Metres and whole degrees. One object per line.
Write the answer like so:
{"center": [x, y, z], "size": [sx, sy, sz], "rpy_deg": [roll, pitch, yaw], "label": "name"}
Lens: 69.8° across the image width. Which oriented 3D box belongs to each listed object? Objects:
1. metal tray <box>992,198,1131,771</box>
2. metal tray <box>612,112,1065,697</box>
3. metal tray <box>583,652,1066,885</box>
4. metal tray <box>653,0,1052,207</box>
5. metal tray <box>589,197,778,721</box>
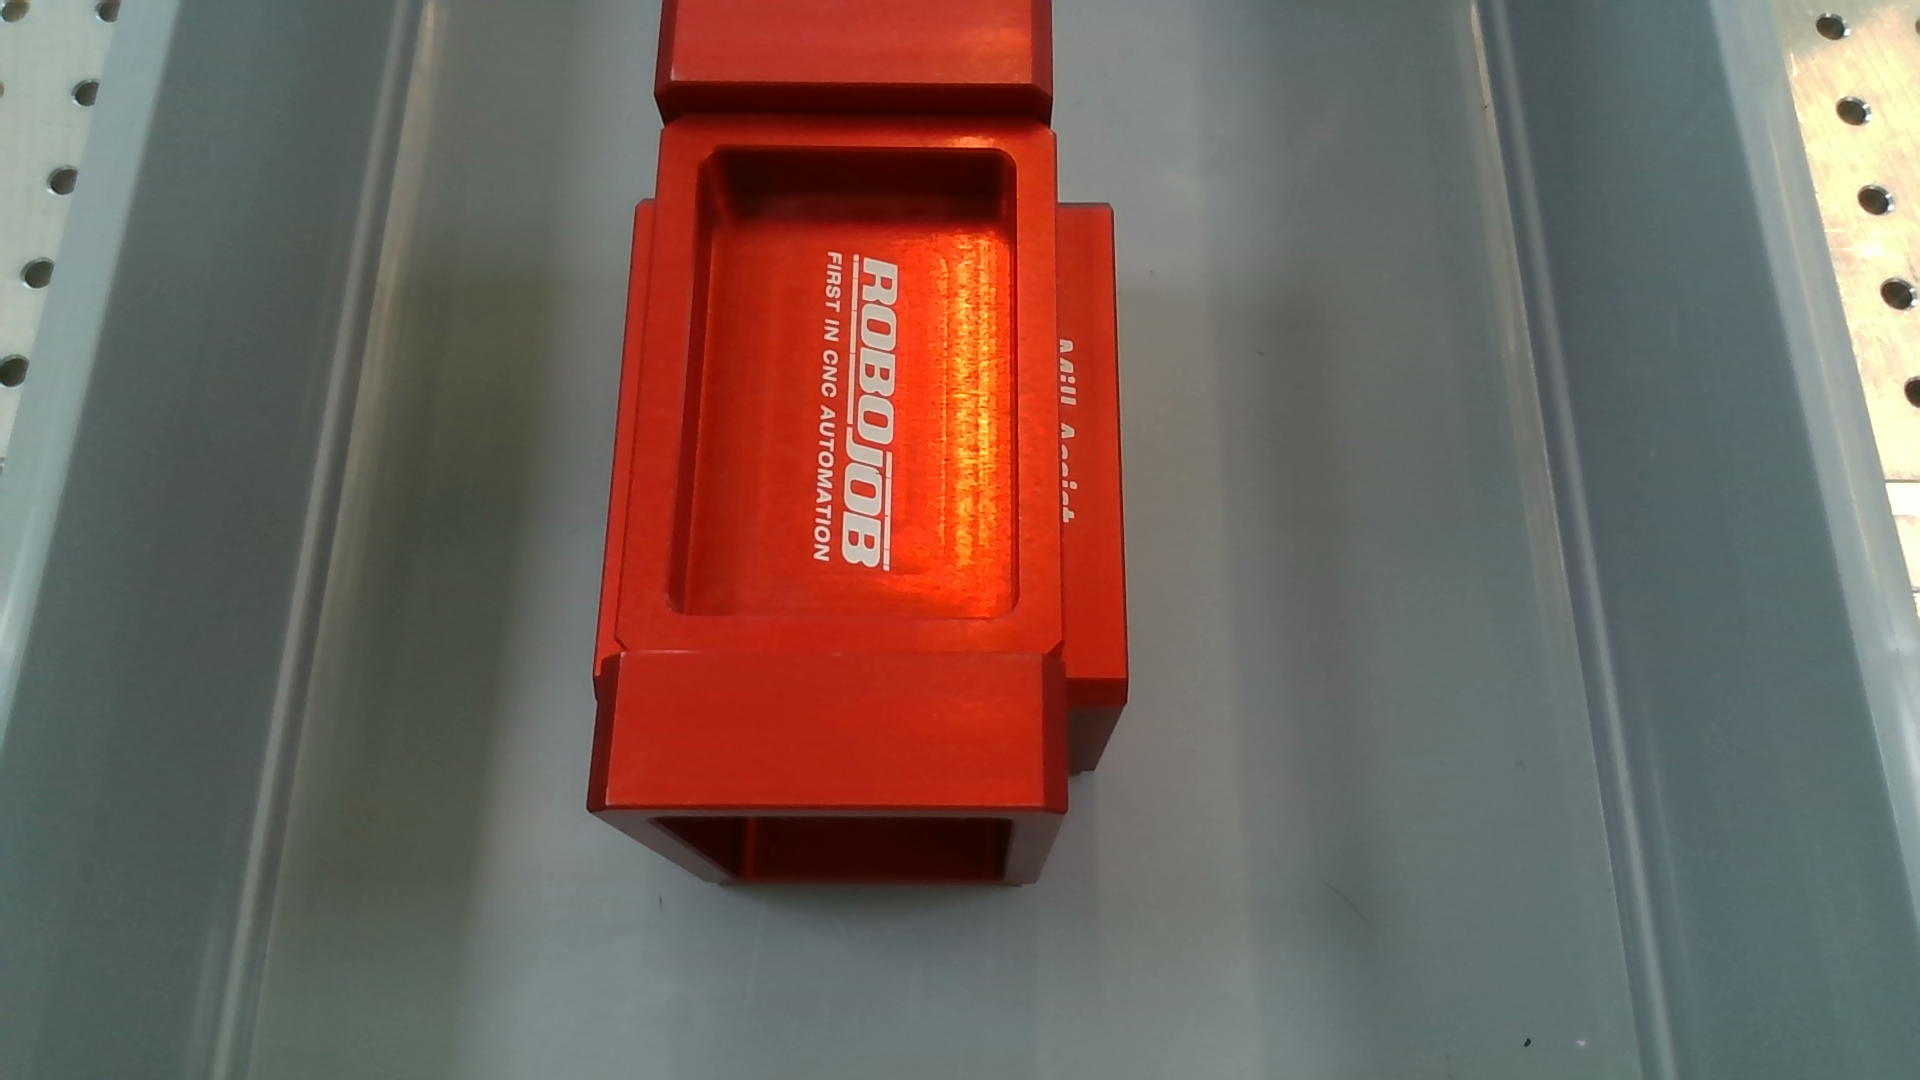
{"center": [0.023, -0.011, 0.363], "size": [0.030, 0.090, 0.130], "rpy_deg": [0, 70, 1], "label": "metal tray"}
{"center": [-0.024, -0.032, 0.307], "size": [0.090, 0.030, 0.130], "rpy_deg": [1, 70, 0], "label": "metal tray"}
{"center": [-0.025, 0.058, 0.317], "size": [0.090, 0.130, 0.030], "rpy_deg": [0, 70, 1], "label": "metal tray"}
{"center": [-0.024, -0.094, 0.372], "size": [0.090, 0.130, 0.030], "rpy_deg": [0, 70, 1], "label": "metal tray"}
{"center": [-0.067, -0.012, 0.363], "size": [0.030, 0.090, 0.130], "rpy_deg": [0, 70, 0], "label": "metal tray"}
